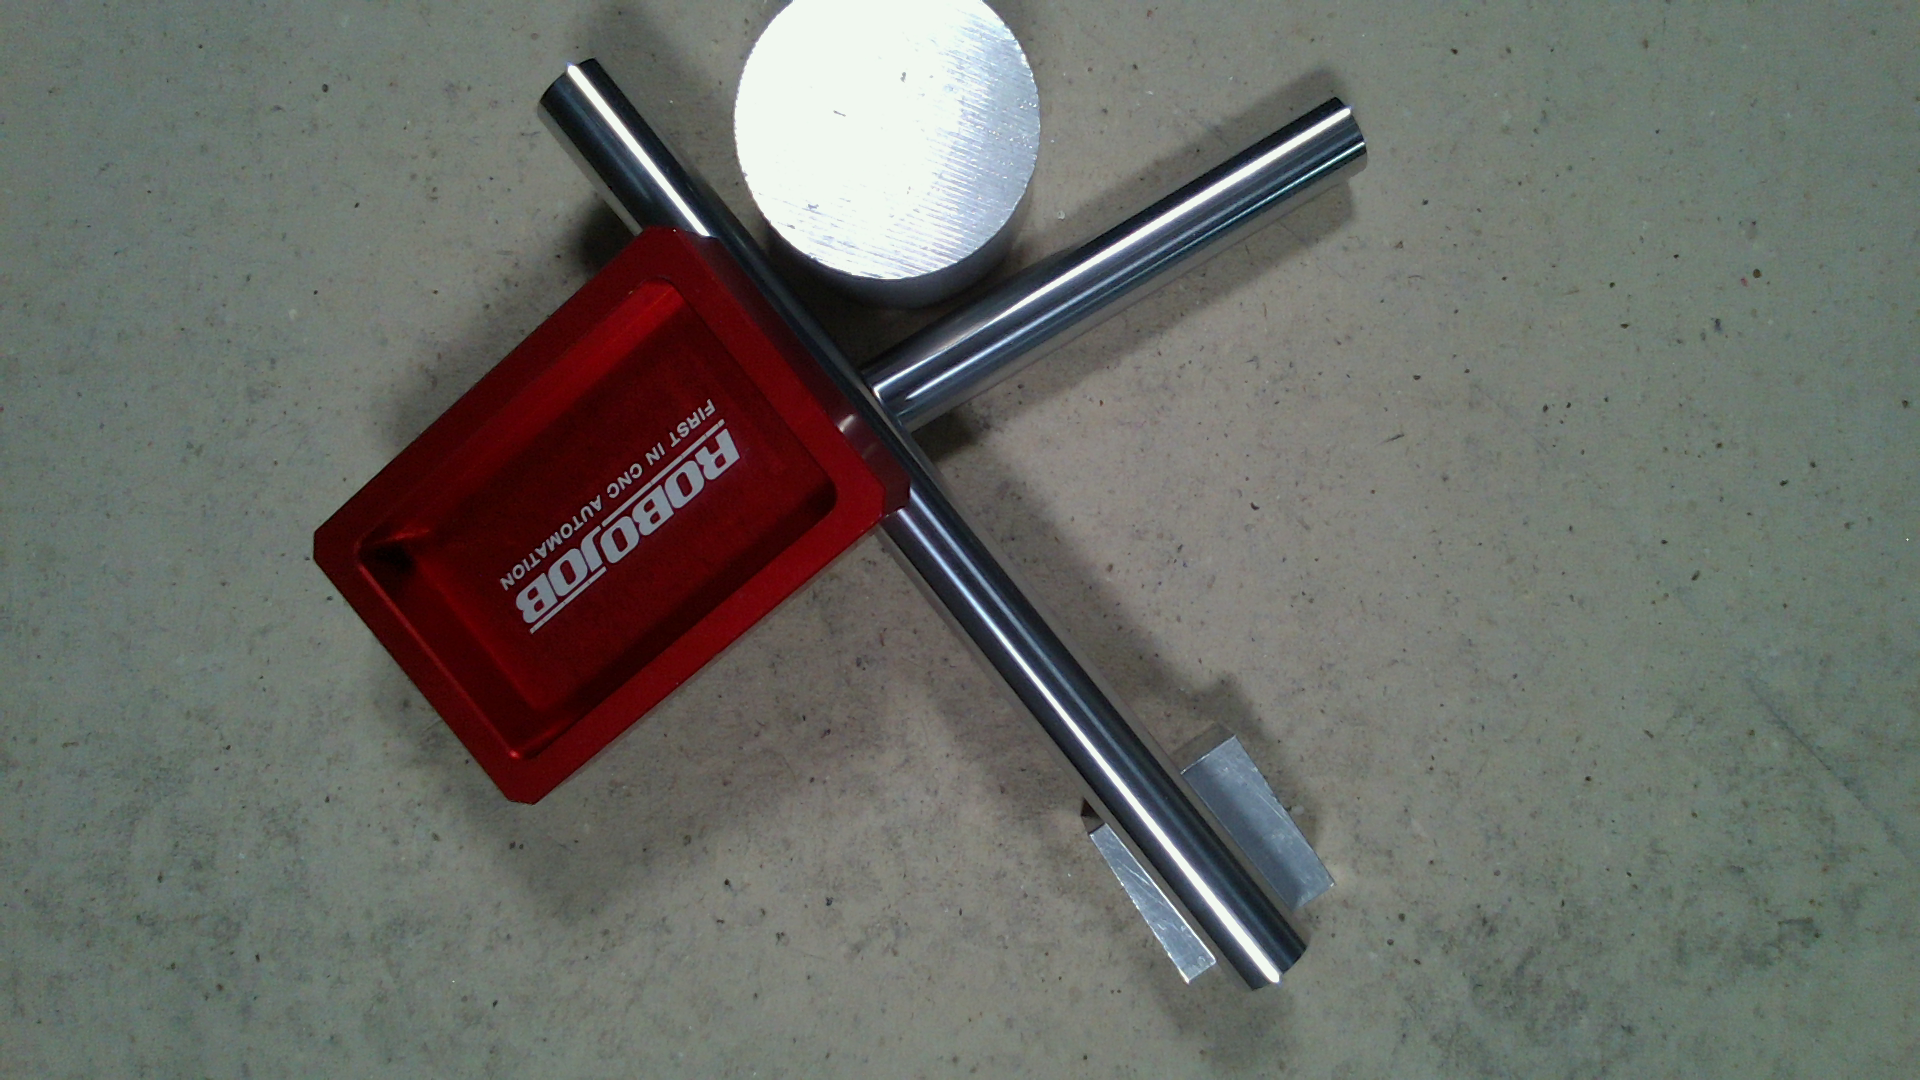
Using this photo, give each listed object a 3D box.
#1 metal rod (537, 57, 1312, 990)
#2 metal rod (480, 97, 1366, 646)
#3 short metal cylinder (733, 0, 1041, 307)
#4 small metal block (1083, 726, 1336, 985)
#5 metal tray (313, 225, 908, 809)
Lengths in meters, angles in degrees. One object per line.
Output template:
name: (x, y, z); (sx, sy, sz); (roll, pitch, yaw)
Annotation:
metal rod: (-0.009, -0.004, 0.371); (0.025, 0.025, 0.300); (-39, 90, 0)
metal rod: (-0.020, -0.041, 0.395); (0.300, 0.025, 0.025); (-30, 90, 0)
short metal cylinder: (-0.019, -0.108, 0.382); (0.080, 0.050, 0.080); (0, 90, 0)
small metal block: (0.070, 0.089, 0.396); (0.050, 0.025, 0.050); (-34, 90, 0)
metal tray: (-0.090, -0.005, 0.354); (0.130, 0.030, 0.090); (-39, 90, 12)
